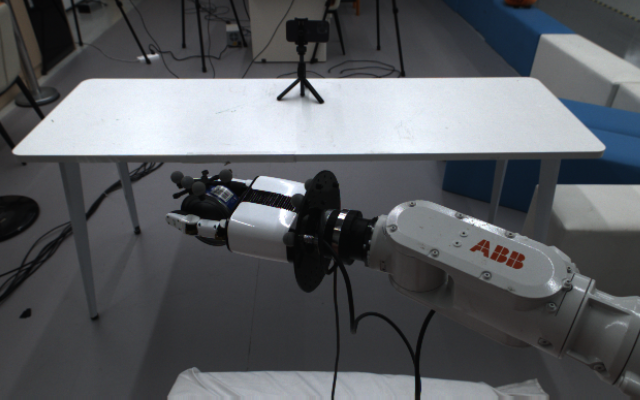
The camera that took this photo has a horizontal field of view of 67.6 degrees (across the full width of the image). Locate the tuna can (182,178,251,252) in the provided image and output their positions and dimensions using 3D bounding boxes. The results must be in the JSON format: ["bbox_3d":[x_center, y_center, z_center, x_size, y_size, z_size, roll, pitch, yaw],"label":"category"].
[{"bbox_3d":[-0.146,0.021,0.671,0.085,0.085,0.034,14,33,16],"label":"tuna can"}]
